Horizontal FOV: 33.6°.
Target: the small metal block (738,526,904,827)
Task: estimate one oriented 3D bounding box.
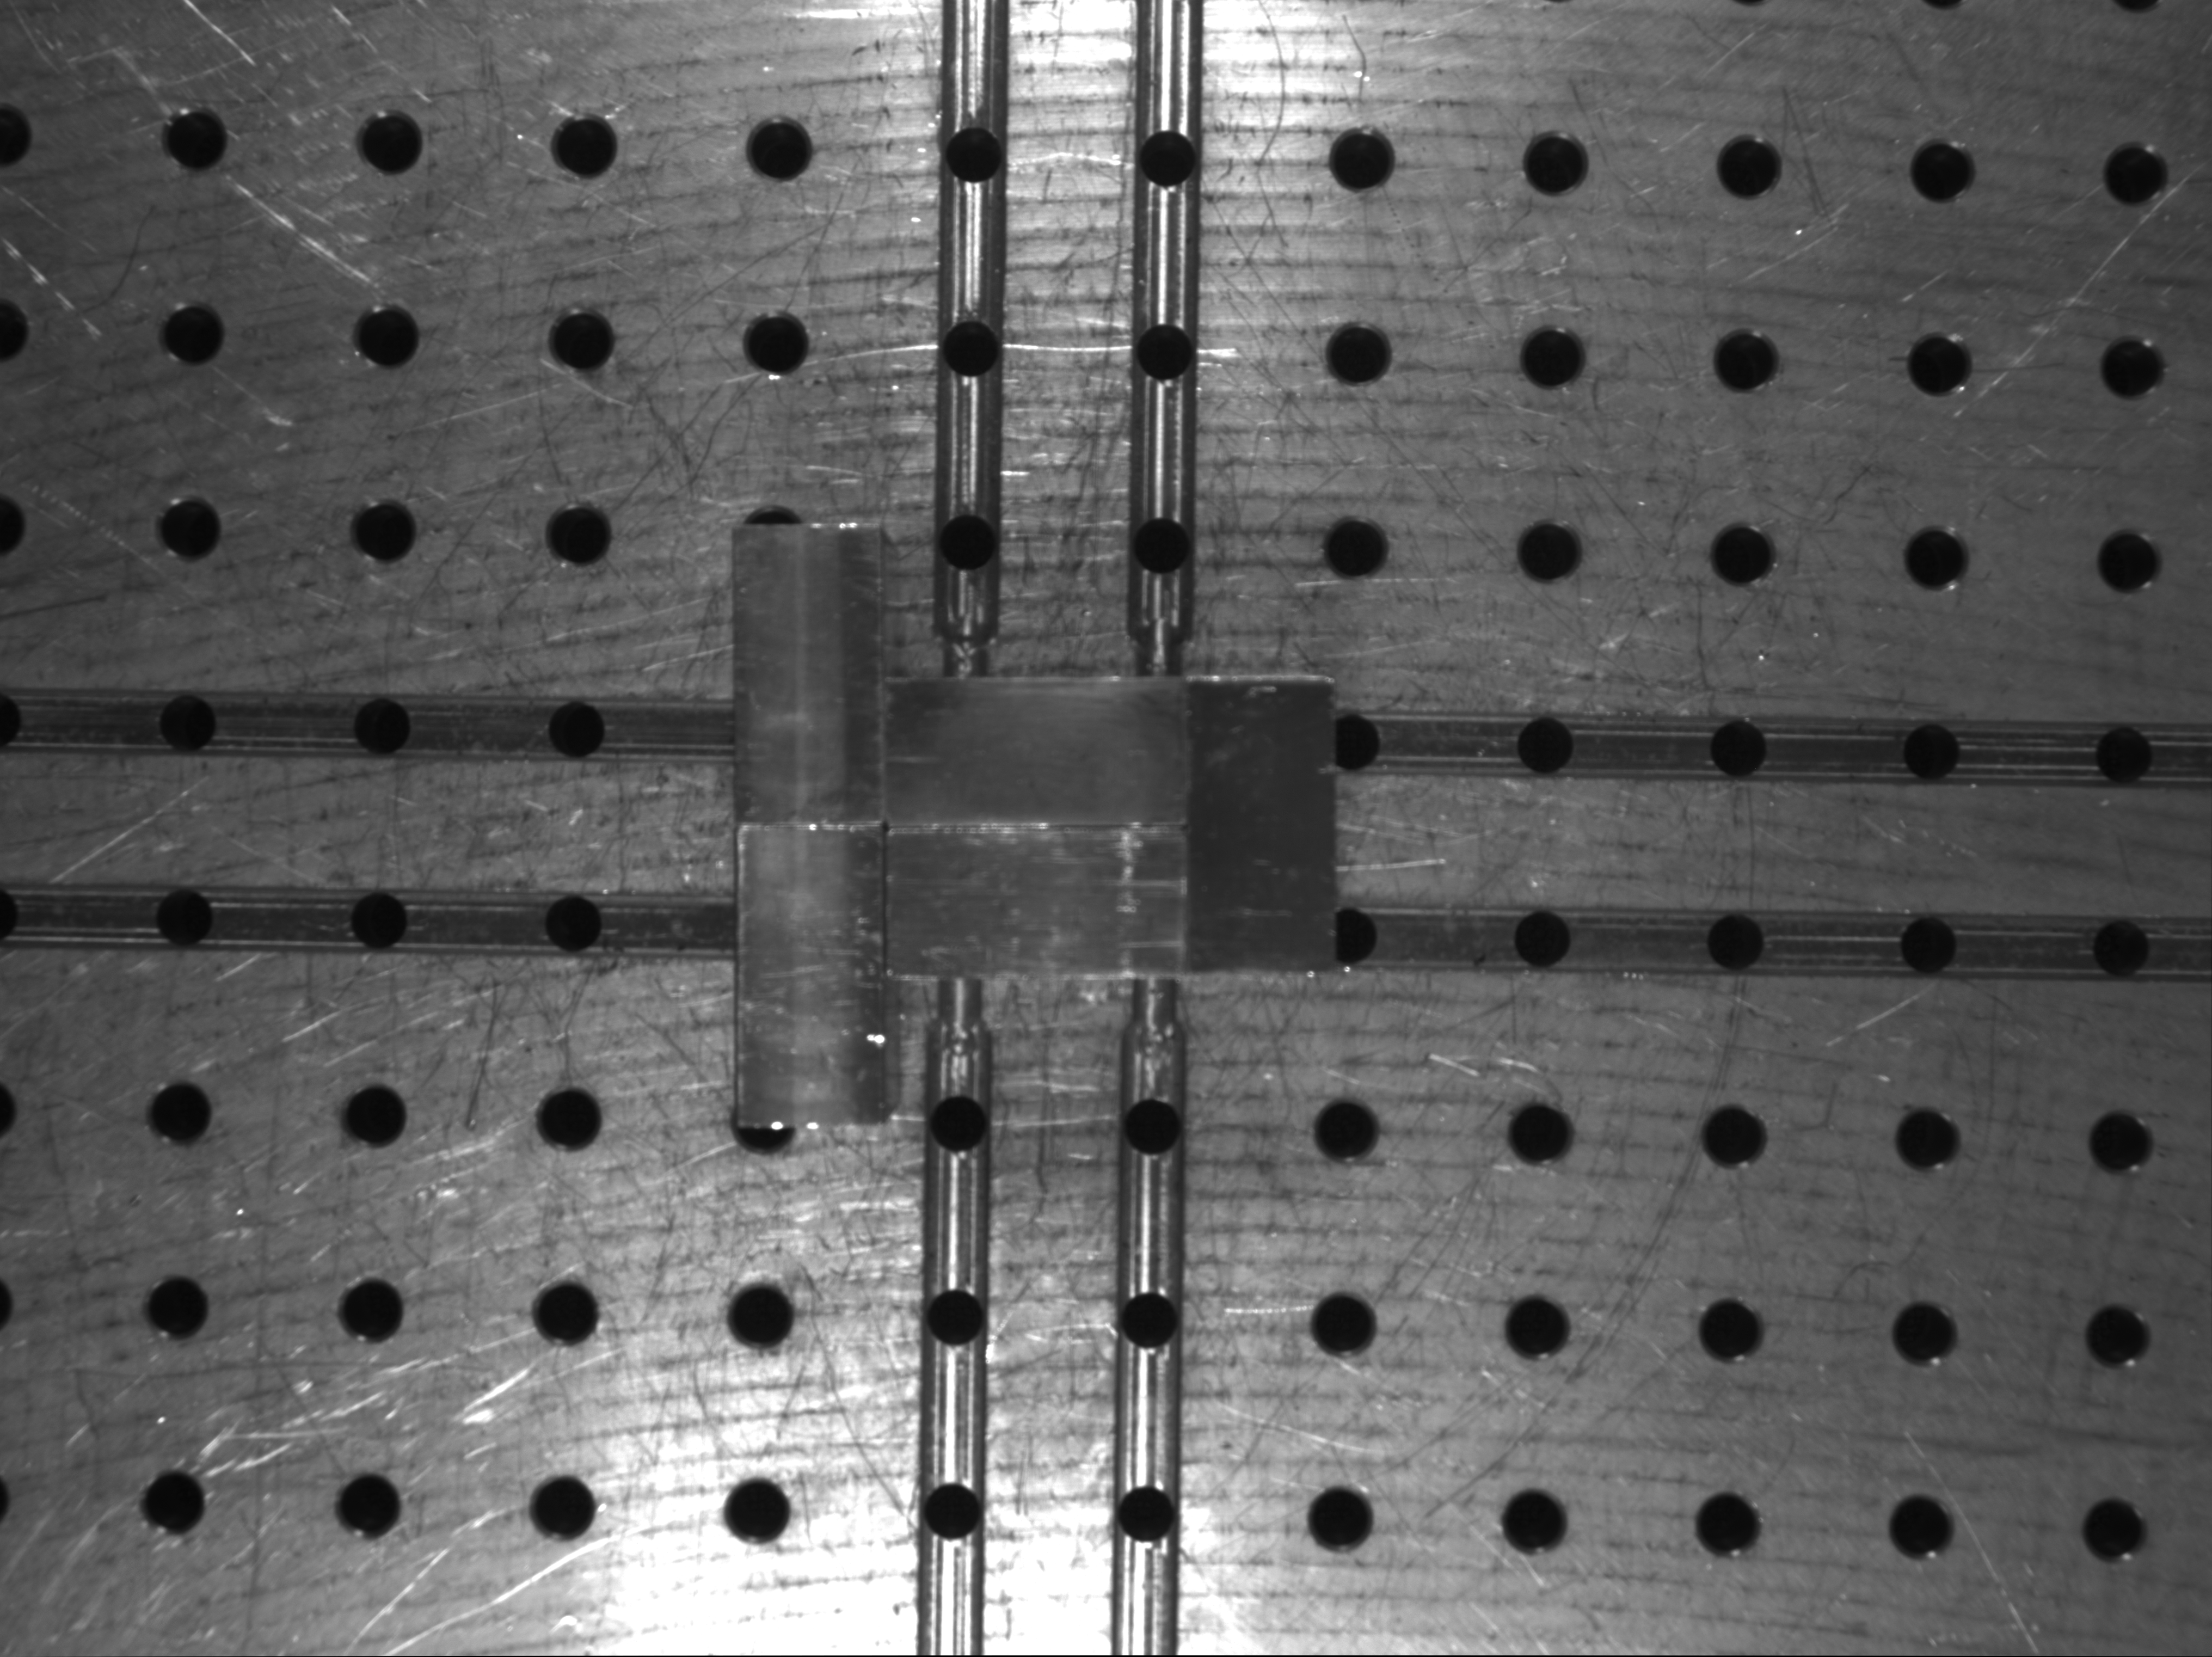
[{"bbox_3d":[-0.049,-0.025,0.634,0.025,0.050,0.050,0,90,0],"label":"small metal block"}]

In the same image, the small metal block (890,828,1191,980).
[{"bbox_3d":[-0.011,0.013,0.634,0.050,0.050,0.025,0,90,0],"label":"small metal block"}]

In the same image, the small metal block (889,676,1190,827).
[{"bbox_3d":[-0.011,-0.013,0.634,0.050,0.050,0.025,0,90,0],"label":"small metal block"}]

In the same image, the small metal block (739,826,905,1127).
[{"bbox_3d":[-0.049,0.025,0.634,0.025,0.050,0.050,0,90,0],"label":"small metal block"}]

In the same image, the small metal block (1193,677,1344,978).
[{"bbox_3d":[0.027,0.000,0.635,0.025,0.050,0.050,0,90,0],"label":"small metal block"}]
